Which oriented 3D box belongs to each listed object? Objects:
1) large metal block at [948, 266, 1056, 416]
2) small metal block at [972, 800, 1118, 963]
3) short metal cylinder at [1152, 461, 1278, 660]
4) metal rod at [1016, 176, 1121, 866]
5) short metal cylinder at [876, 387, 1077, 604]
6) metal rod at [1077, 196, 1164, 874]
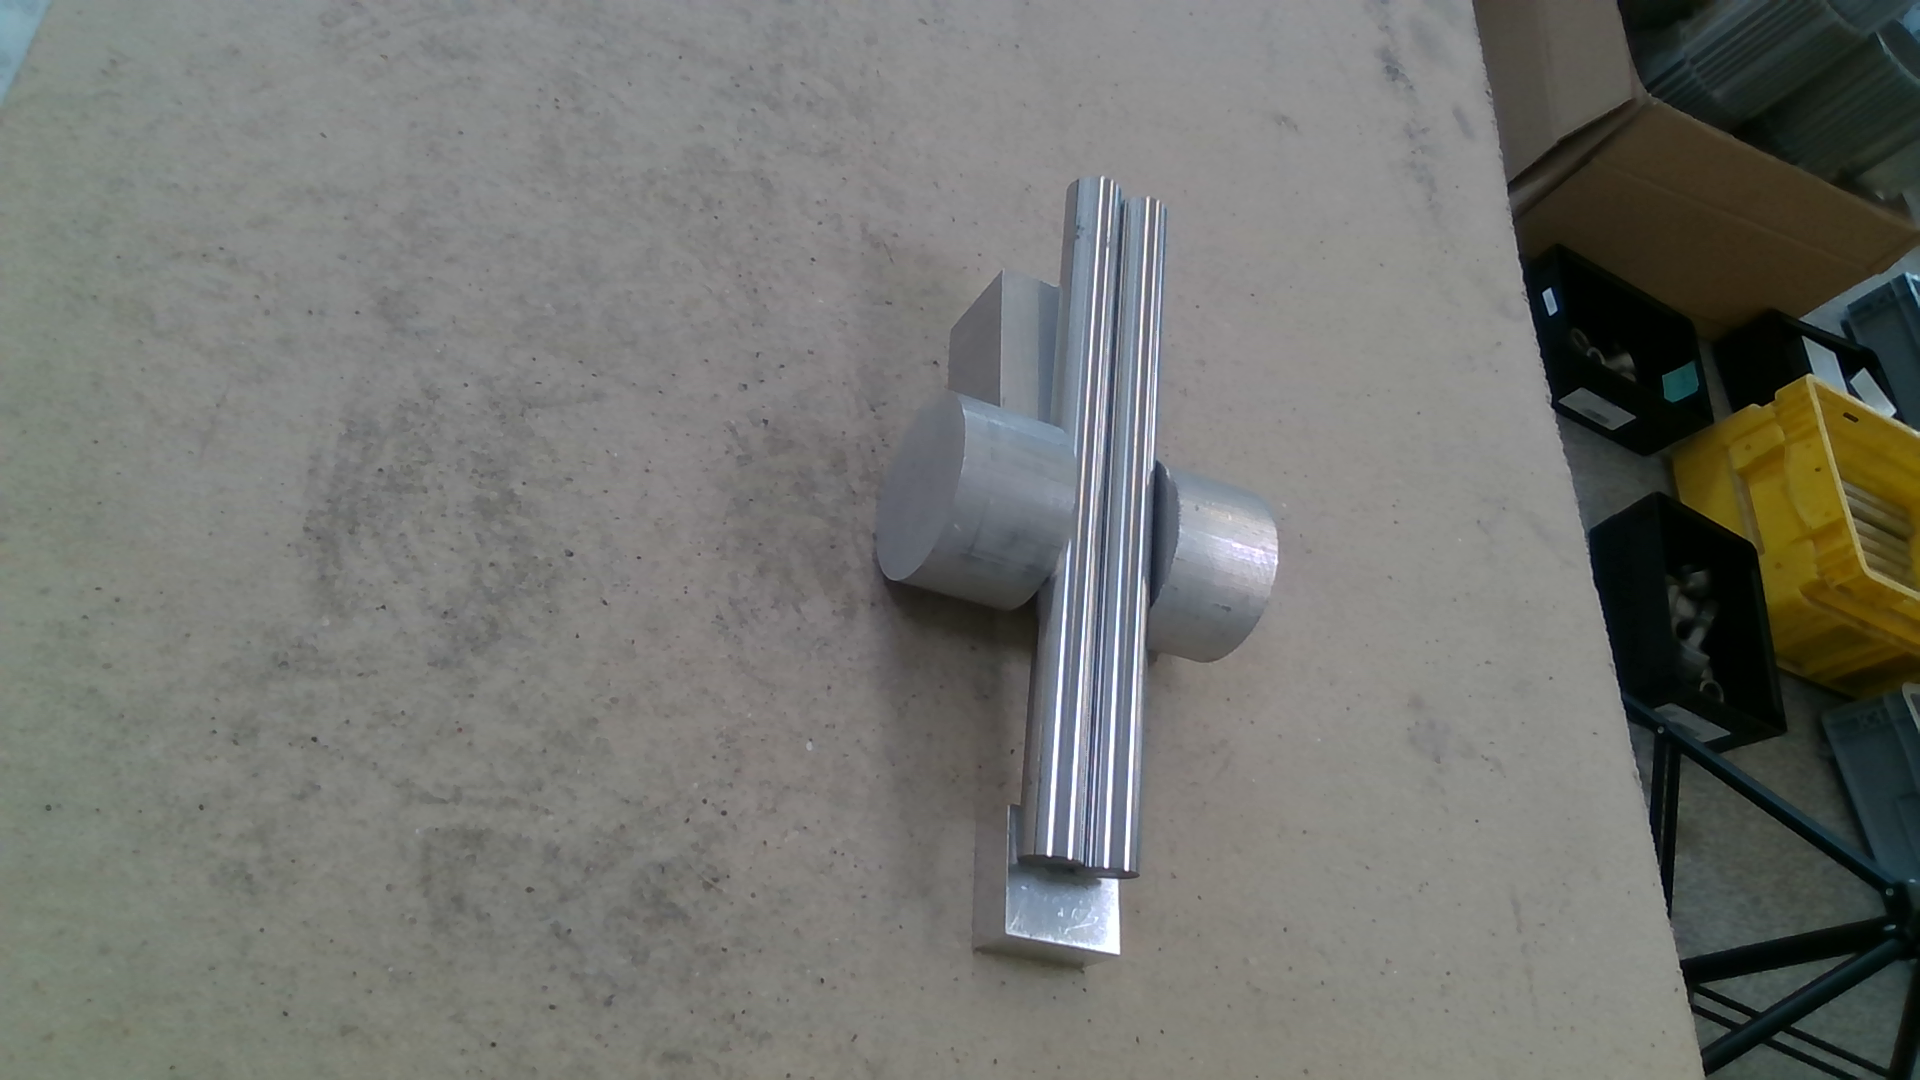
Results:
[{"bbox_3d":[0.041,-0.067,0.632,0.080,0.050,0.080,16,58,-24],"label":"large metal block"},{"bbox_3d":[0.033,0.134,0.536,0.050,0.025,0.050,17,57,-23],"label":"small metal block"},{"bbox_3d":[0.094,0.009,0.604,0.050,0.080,0.080,16,58,-24],"label":"short metal cylinder"},{"bbox_3d":[0.047,-0.019,0.568,0.025,0.025,0.299,16,66,-24],"label":"metal rod"},{"bbox_3d":[0.005,-0.017,0.563,0.050,0.080,0.080,16,58,-24],"label":"short metal cylinder"},{"bbox_3d":[0.069,-0.013,0.578,0.025,0.025,0.299,16,66,-24],"label":"metal rod"}]
